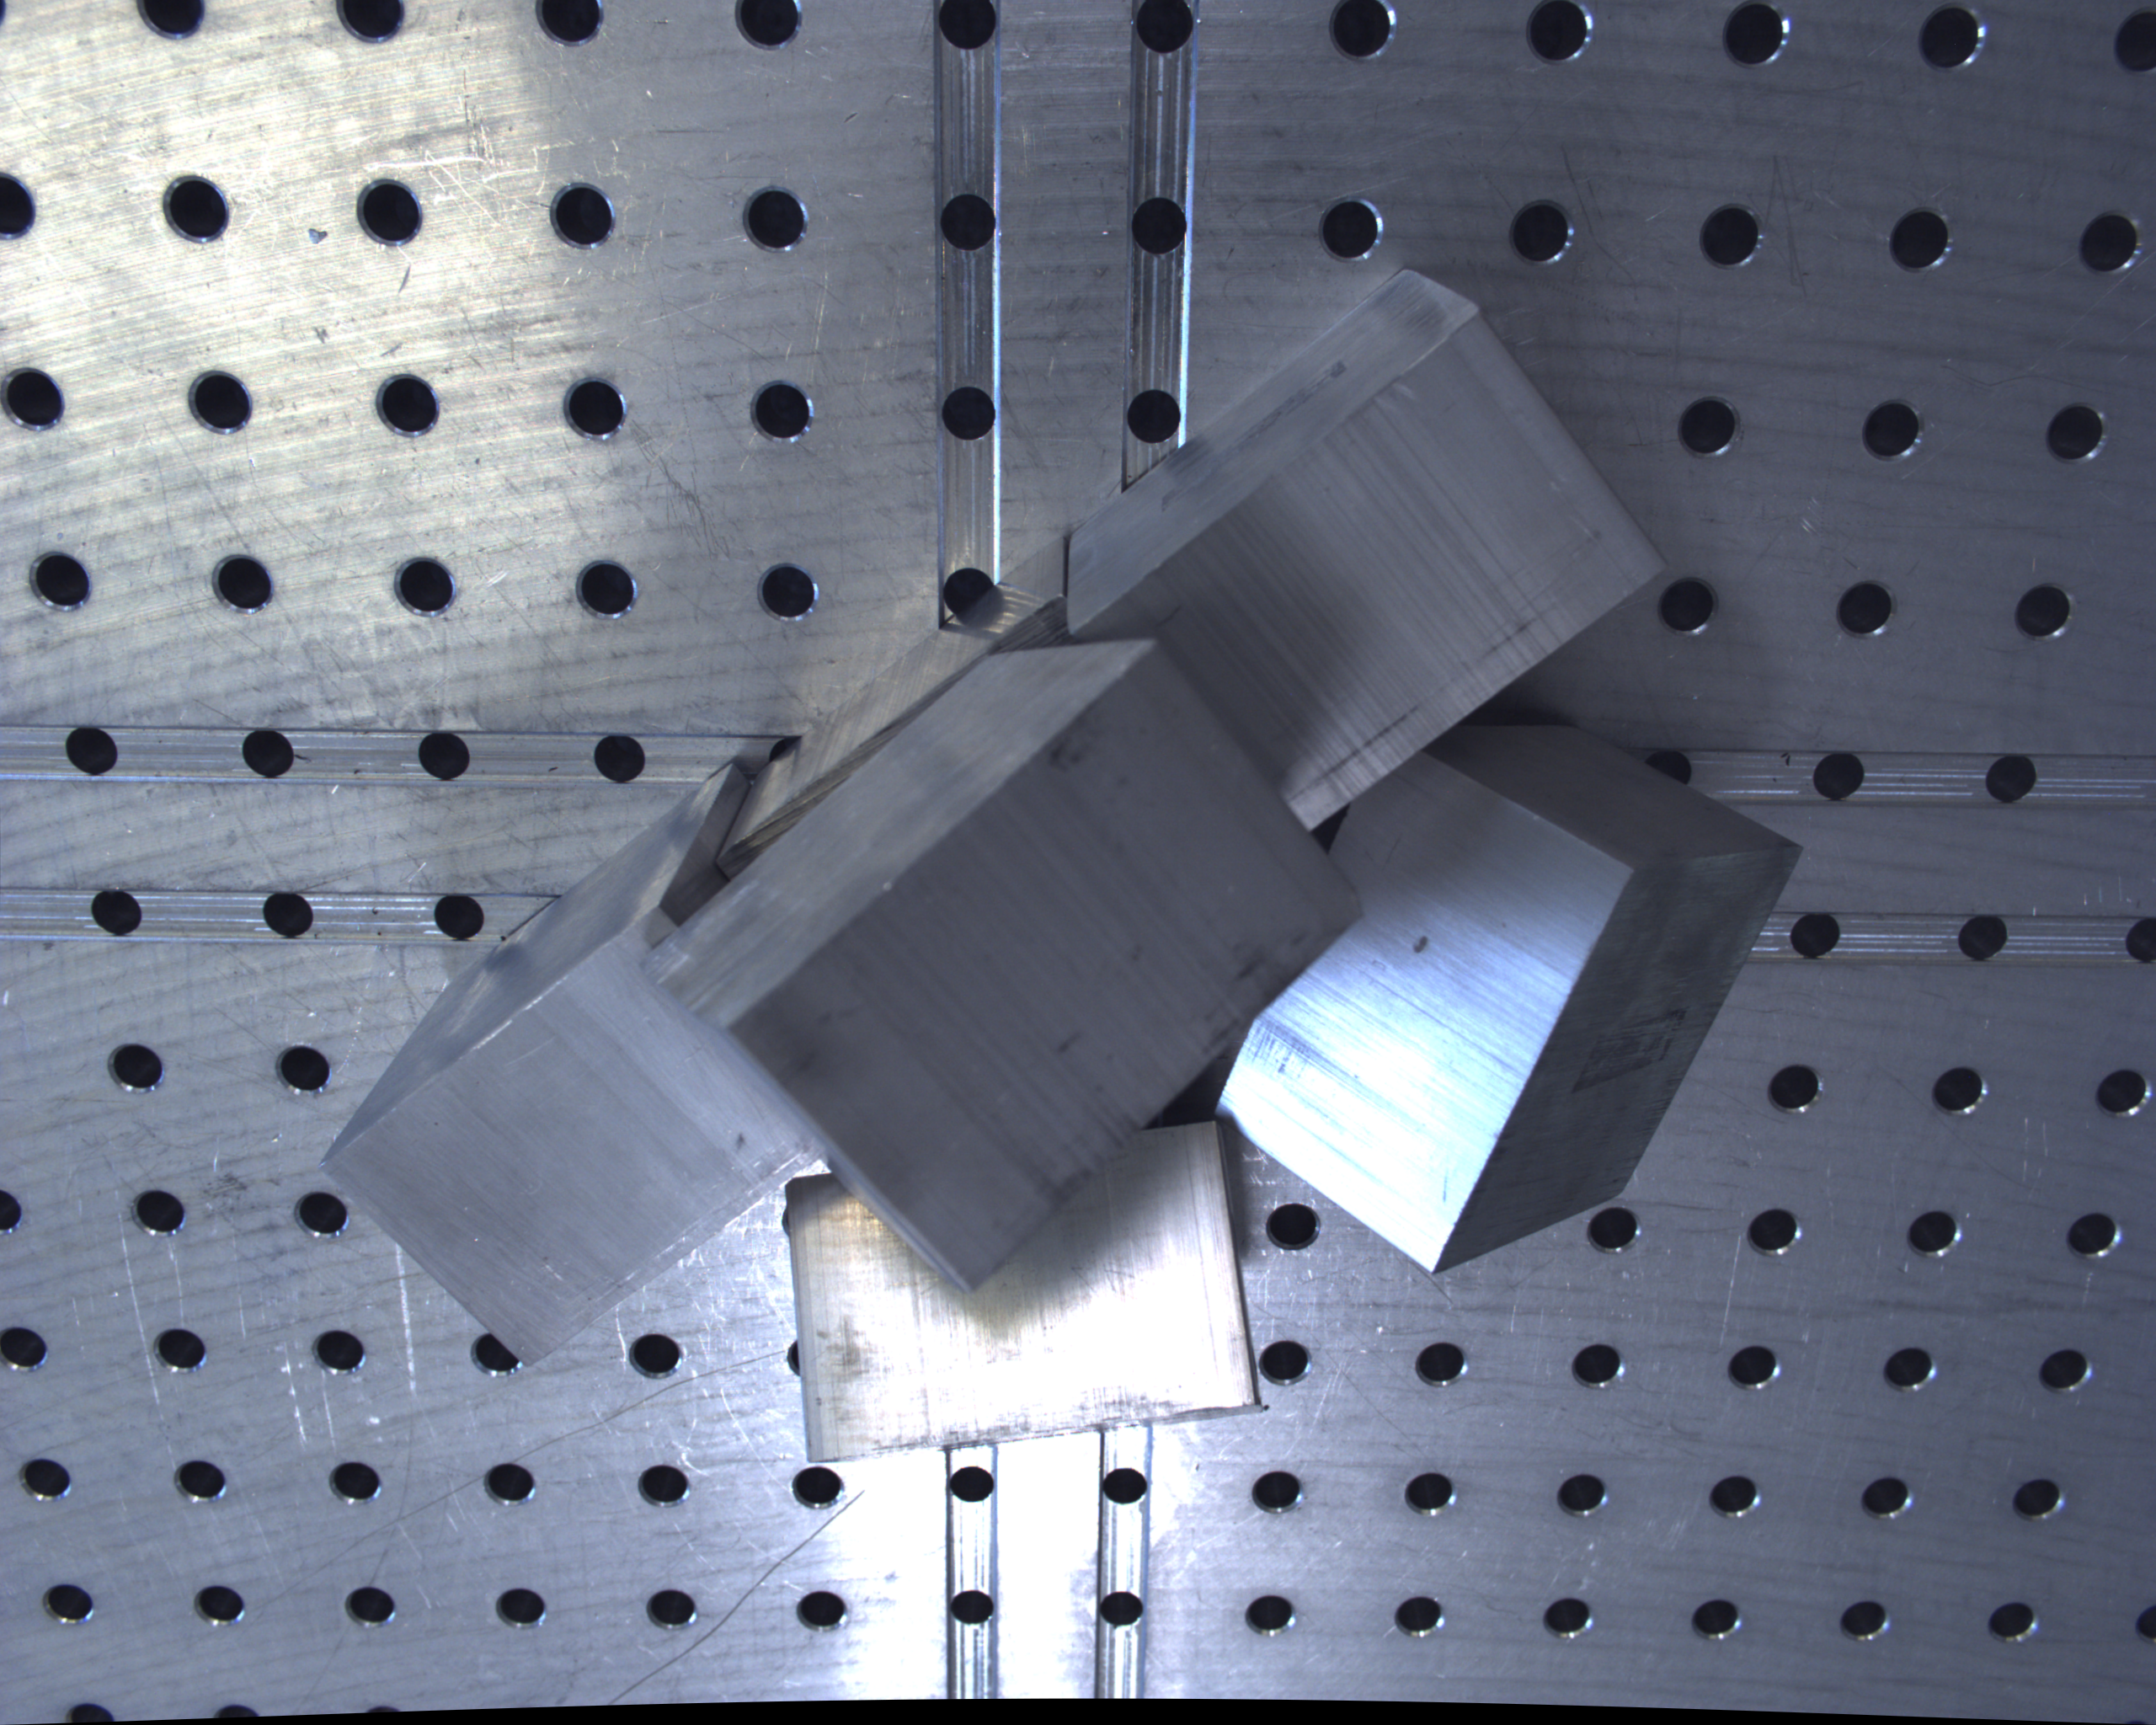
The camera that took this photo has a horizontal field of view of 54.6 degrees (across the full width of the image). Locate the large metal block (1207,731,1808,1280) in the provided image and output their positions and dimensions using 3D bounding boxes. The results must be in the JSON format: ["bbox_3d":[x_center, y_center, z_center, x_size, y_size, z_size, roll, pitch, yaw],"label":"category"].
[{"bbox_3d":[0.080,0.022,0.385,0.050,0.081,0.080,34,113,32],"label":"large metal block"}]

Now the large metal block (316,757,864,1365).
[{"bbox_3d":[-0.084,0.034,0.395,0.080,0.080,0.050,-36,106,12],"label":"large metal block"}]

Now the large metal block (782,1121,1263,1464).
[{"bbox_3d":[-0.007,0.087,0.408,0.080,0.080,0.050,-8,74,3],"label":"large metal block"}]

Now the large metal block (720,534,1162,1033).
[{"bbox_3d":[-0.009,-0.003,0.400,0.080,0.050,0.080,-37,106,12],"label":"large metal block"}]

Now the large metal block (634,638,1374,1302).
[{"bbox_3d":[-0.015,0.012,0.321,0.080,0.080,0.050,-43,106,-12],"label":"large metal block"}]

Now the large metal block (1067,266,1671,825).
[{"bbox_3d":[0.045,-0.055,0.364,0.080,0.080,0.050,-37,106,12],"label":"large metal block"}]
